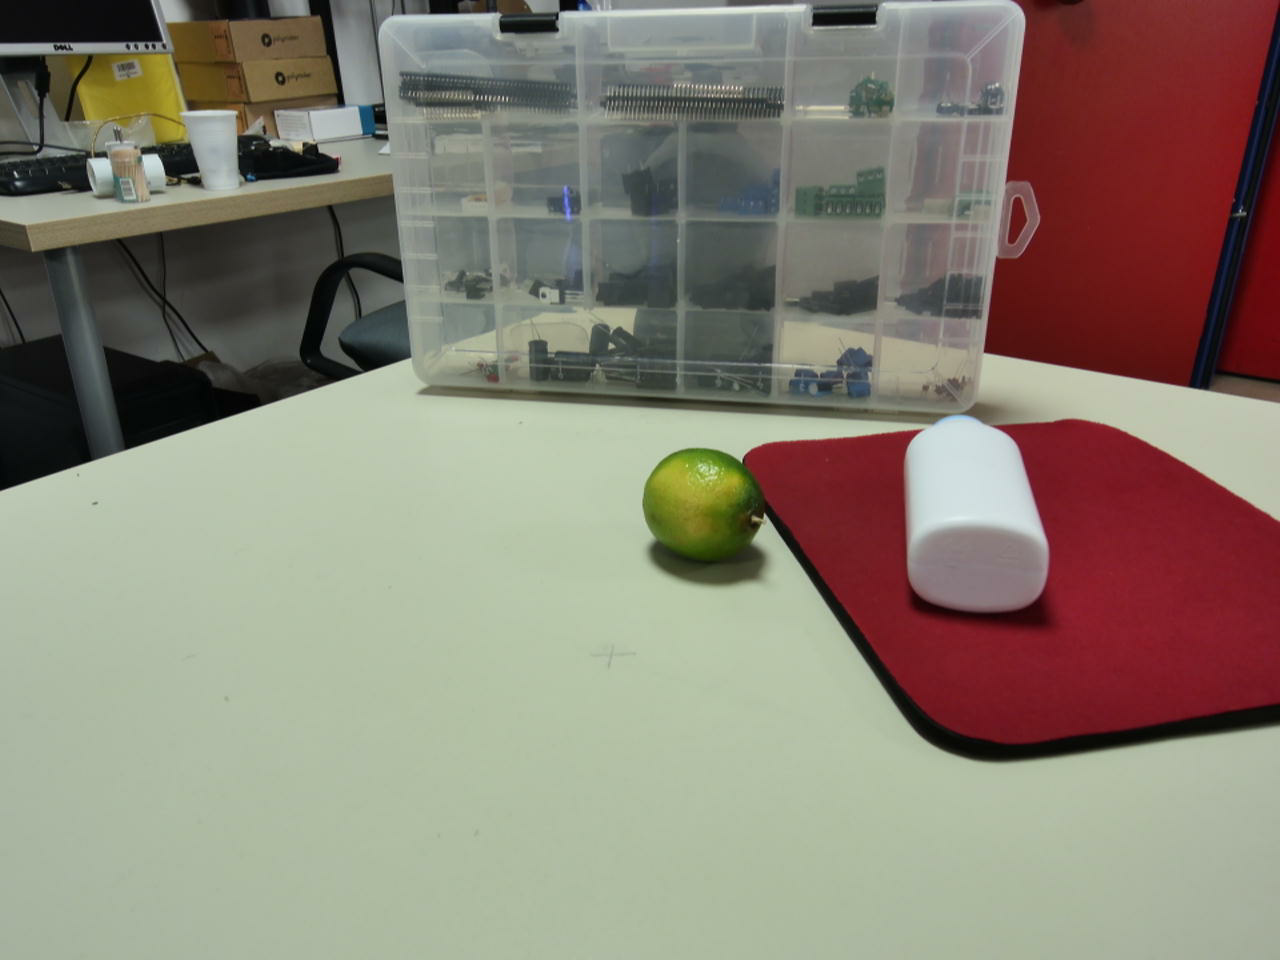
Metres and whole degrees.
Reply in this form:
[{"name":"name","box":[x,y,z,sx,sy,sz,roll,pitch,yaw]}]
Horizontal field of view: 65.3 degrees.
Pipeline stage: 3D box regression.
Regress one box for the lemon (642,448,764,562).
[{"name":"lemon","box":[0.029,0.011,0.457,0.054,0.050,0.055,-1,23,-1]}]
